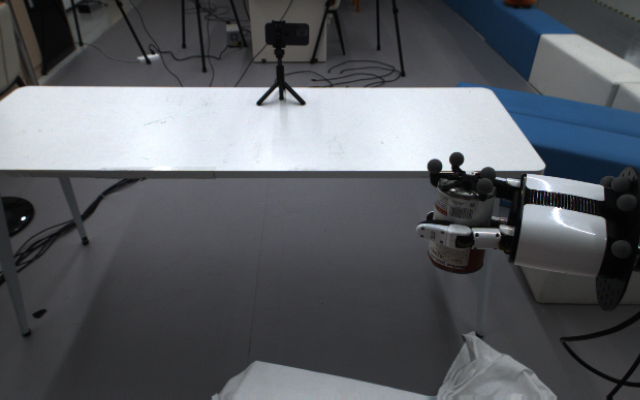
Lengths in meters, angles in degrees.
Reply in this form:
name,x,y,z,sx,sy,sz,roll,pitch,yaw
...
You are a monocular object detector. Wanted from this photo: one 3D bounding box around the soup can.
name,x,y,z,sx,sy,sz,roll,pitch,yaw
soup can,0.171,0.027,0.581,0.067,0.101,0.067,1,25,0
